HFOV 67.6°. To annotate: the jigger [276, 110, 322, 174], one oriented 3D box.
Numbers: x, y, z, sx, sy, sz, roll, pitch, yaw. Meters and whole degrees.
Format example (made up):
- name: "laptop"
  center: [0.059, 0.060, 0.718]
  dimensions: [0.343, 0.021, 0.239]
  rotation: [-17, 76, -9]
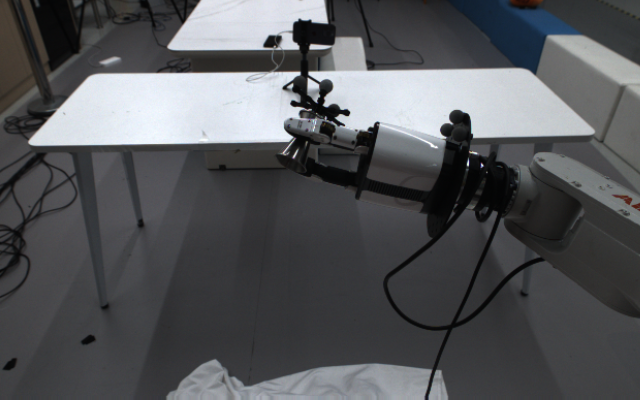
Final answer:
- name: "jigger"
  center: [-0.023, -0.076, 0.602]
  dimensions: [0.043, 0.043, 0.071]
  rotation: [19, 72, 23]
